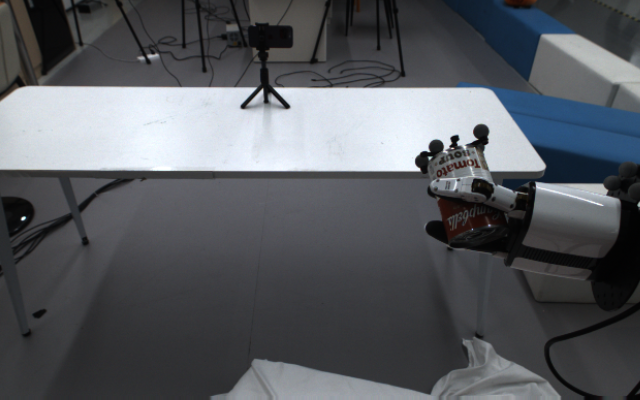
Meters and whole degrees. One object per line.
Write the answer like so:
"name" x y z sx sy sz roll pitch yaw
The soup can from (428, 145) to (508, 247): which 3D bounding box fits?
"soup can" 0.170 -0.005 0.558 0.067 0.067 0.101 -7 68 -12
